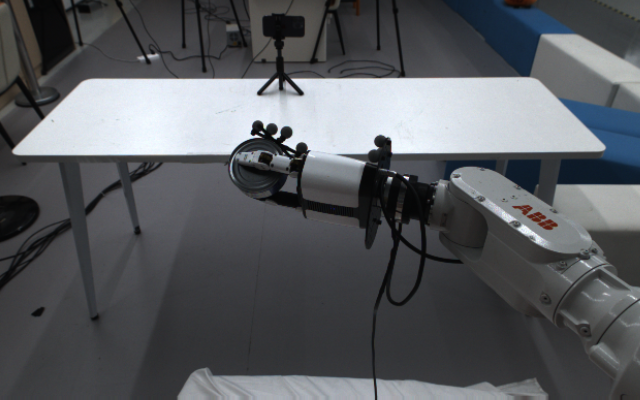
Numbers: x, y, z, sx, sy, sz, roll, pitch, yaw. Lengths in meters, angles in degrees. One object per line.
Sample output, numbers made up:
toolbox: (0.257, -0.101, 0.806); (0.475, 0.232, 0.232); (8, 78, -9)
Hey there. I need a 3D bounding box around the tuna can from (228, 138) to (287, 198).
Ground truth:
tuna can: (-0.091, -0.046, 0.721); (0.085, 0.034, 0.085); (-2, 71, 6)
